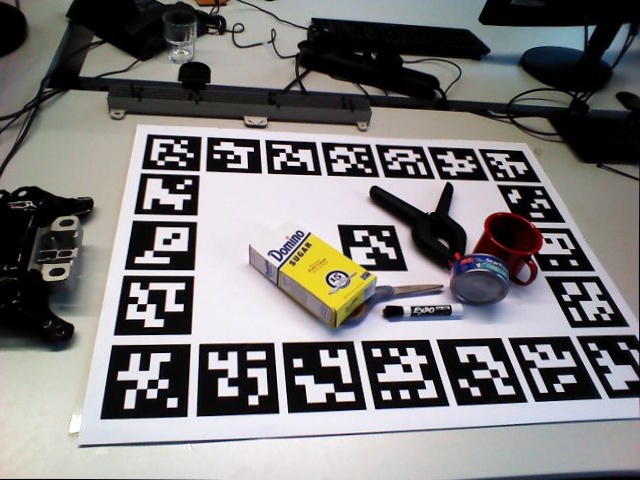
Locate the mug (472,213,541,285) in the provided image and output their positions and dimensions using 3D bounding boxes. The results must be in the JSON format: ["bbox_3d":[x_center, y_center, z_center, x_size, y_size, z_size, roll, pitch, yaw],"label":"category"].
[{"bbox_3d":[0.300,0.024,0.826,0.093,0.082,0.117,-22,52,-27],"label":"mug"}]

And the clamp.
[{"bbox_3d":[0.197,-0.026,0.893,0.165,0.037,0.202,-7,51,-17],"label":"clamp"}]

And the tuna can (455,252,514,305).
[{"bbox_3d":[0.247,0.060,0.778,0.086,0.086,0.033,14,47,2],"label":"tuna can"}]

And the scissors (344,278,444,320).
[{"bbox_3d":[0.096,0.072,0.781,0.202,0.016,0.087,-6,46,-18],"label":"scissors"}]

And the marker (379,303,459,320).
[{"bbox_3d":[0.145,0.105,0.764,0.121,0.020,0.019,-2,50,-11],"label":"marker"}]

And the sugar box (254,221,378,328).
[{"bbox_3d":[-0.009,0.043,0.767,0.092,0.045,0.177,-31,54,-32],"label":"sugar box"}]
